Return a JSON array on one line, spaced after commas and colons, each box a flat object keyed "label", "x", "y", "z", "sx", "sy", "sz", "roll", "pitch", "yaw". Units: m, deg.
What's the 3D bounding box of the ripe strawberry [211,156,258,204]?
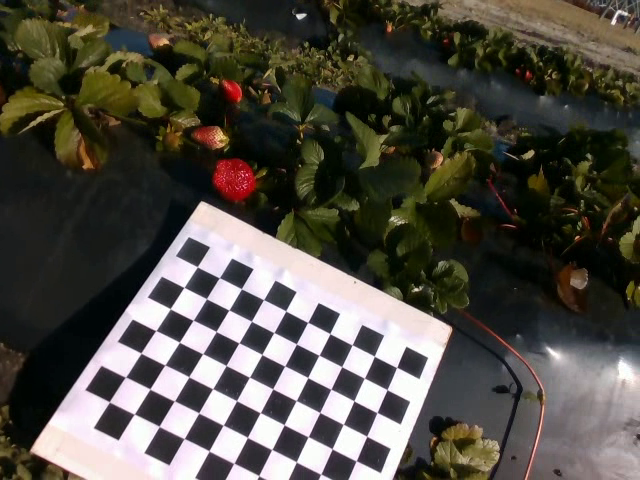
[{"label": "ripe strawberry", "x": -0.097, "y": -0.065, "z": 0.625, "sx": 0.058, "sy": 0.066, "sz": 0.061, "roll": -25, "pitch": -19, "yaw": 9}]
